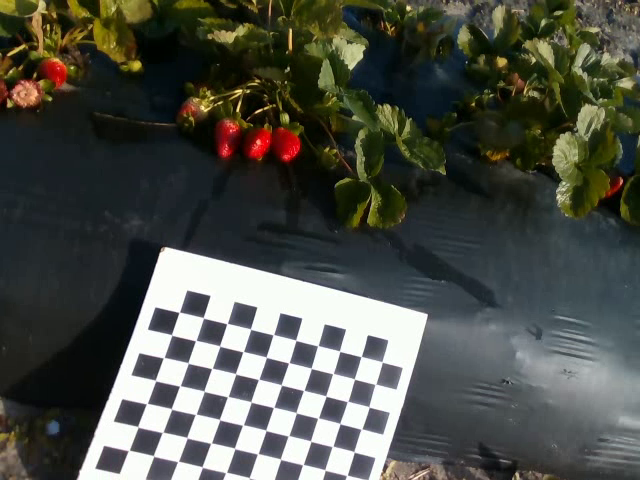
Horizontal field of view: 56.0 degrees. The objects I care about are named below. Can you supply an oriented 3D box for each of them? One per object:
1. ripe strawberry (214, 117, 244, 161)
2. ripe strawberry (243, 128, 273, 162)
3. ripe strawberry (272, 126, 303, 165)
[{"bbox_3d":[-0.091,-0.106,0.592,0.031,0.046,0.023,14,-24,-8],"label":"ripe strawberry"},{"bbox_3d":[-0.062,-0.101,0.589,0.030,0.037,0.039,25,15,-6],"label":"ripe strawberry"},{"bbox_3d":[-0.035,-0.093,0.597,0.035,0.034,0.041,10,30,-8],"label":"ripe strawberry"}]
